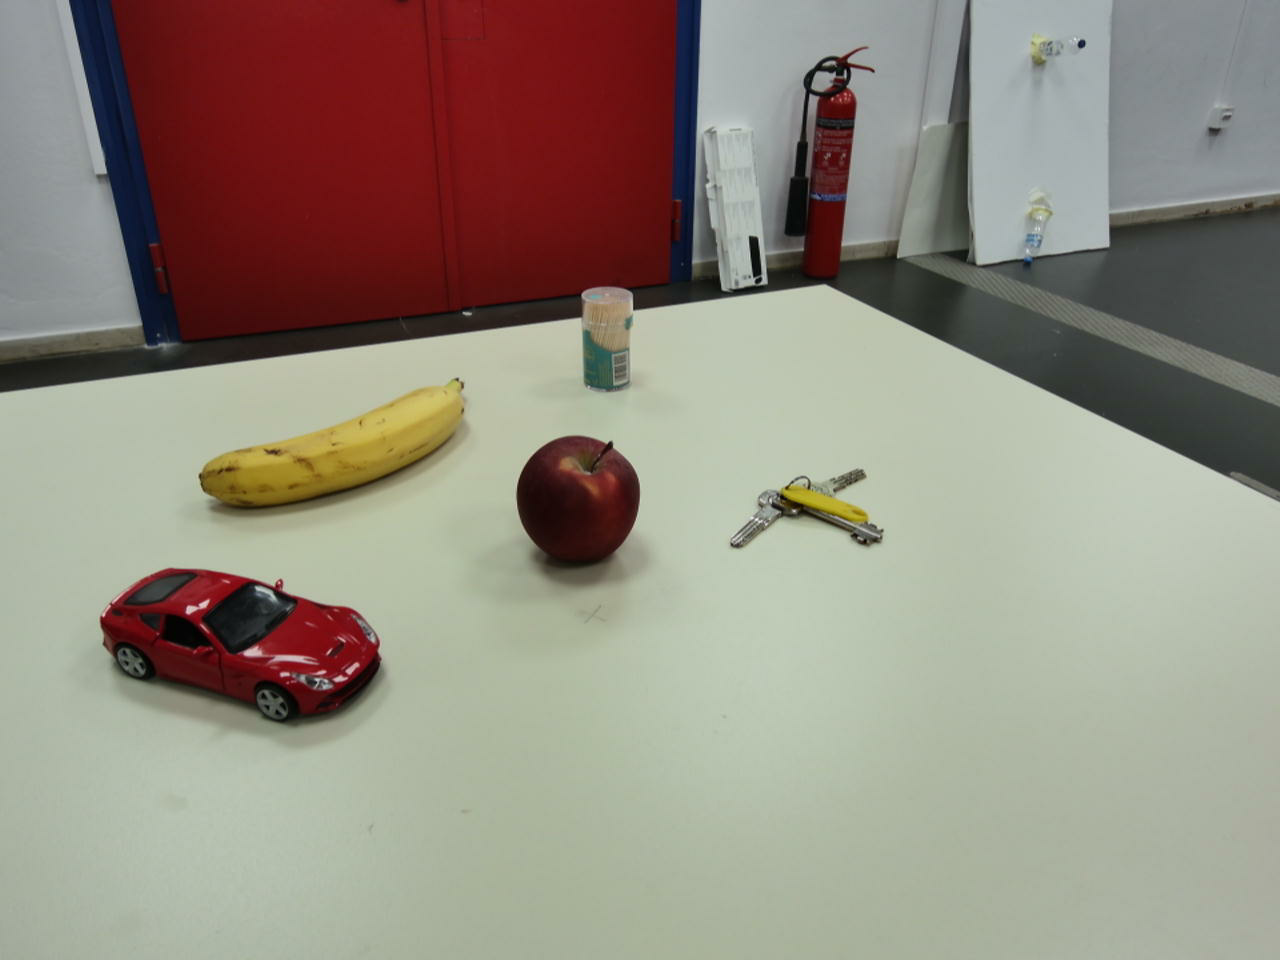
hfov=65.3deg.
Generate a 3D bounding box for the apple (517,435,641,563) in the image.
[{"bbox_3d":[-0.034,0.011,0.561,0.070,0.072,0.070,0,26,0],"label":"apple"}]
